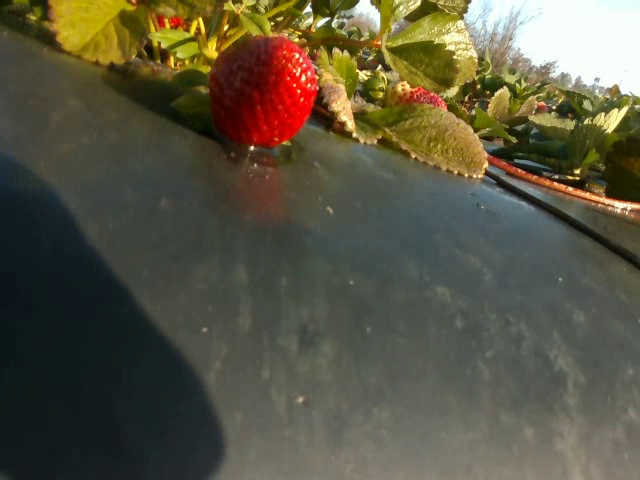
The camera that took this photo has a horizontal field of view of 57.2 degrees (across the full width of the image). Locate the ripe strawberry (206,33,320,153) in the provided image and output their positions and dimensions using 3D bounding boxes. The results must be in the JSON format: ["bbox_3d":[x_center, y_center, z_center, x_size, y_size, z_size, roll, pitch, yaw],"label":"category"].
[{"bbox_3d":[-0.012,-0.035,0.131,0.028,0.031,0.041,-14,-1,-23],"label":"ripe strawberry"}]
